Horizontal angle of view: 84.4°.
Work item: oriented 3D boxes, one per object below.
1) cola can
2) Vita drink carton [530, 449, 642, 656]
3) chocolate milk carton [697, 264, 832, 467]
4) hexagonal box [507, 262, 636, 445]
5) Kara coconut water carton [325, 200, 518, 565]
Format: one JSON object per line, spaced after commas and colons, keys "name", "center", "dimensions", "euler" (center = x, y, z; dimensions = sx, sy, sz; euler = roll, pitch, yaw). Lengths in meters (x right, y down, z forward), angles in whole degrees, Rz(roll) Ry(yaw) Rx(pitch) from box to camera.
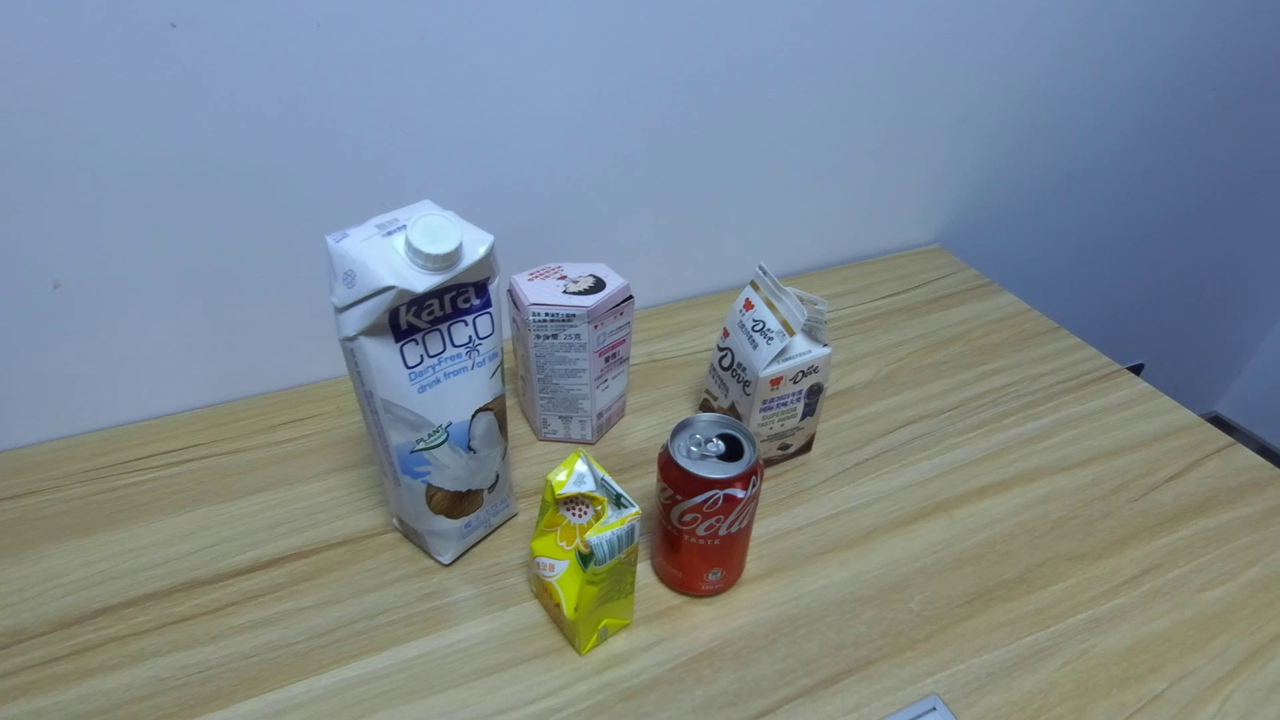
{"name": "cola can", "center": [0.044, 0.095, 0.461], "dimensions": [0.068, 0.120, 0.067], "euler": [1, 38, -1]}
{"name": "Vita drink carton", "center": [-0.038, 0.120, 0.437], "dimensions": [0.046, 0.110, 0.071], "euler": [-23, 43, -32]}
{"name": "chocolate milk carton", "center": [0.097, 0.003, 0.548], "dimensions": [0.073, 0.155, 0.084], "euler": [-15, 41, -21]}
{"name": "hexagonal box", "center": [-0.055, -0.007, 0.571], "dimensions": [0.084, 0.135, 0.092], "euler": [25, 44, 27]}
{"name": "Kara coconut water carton", "center": [-0.129, 0.017, 0.452], "dimensions": [0.071, 0.244, 0.100], "euler": [28, 46, 29]}
